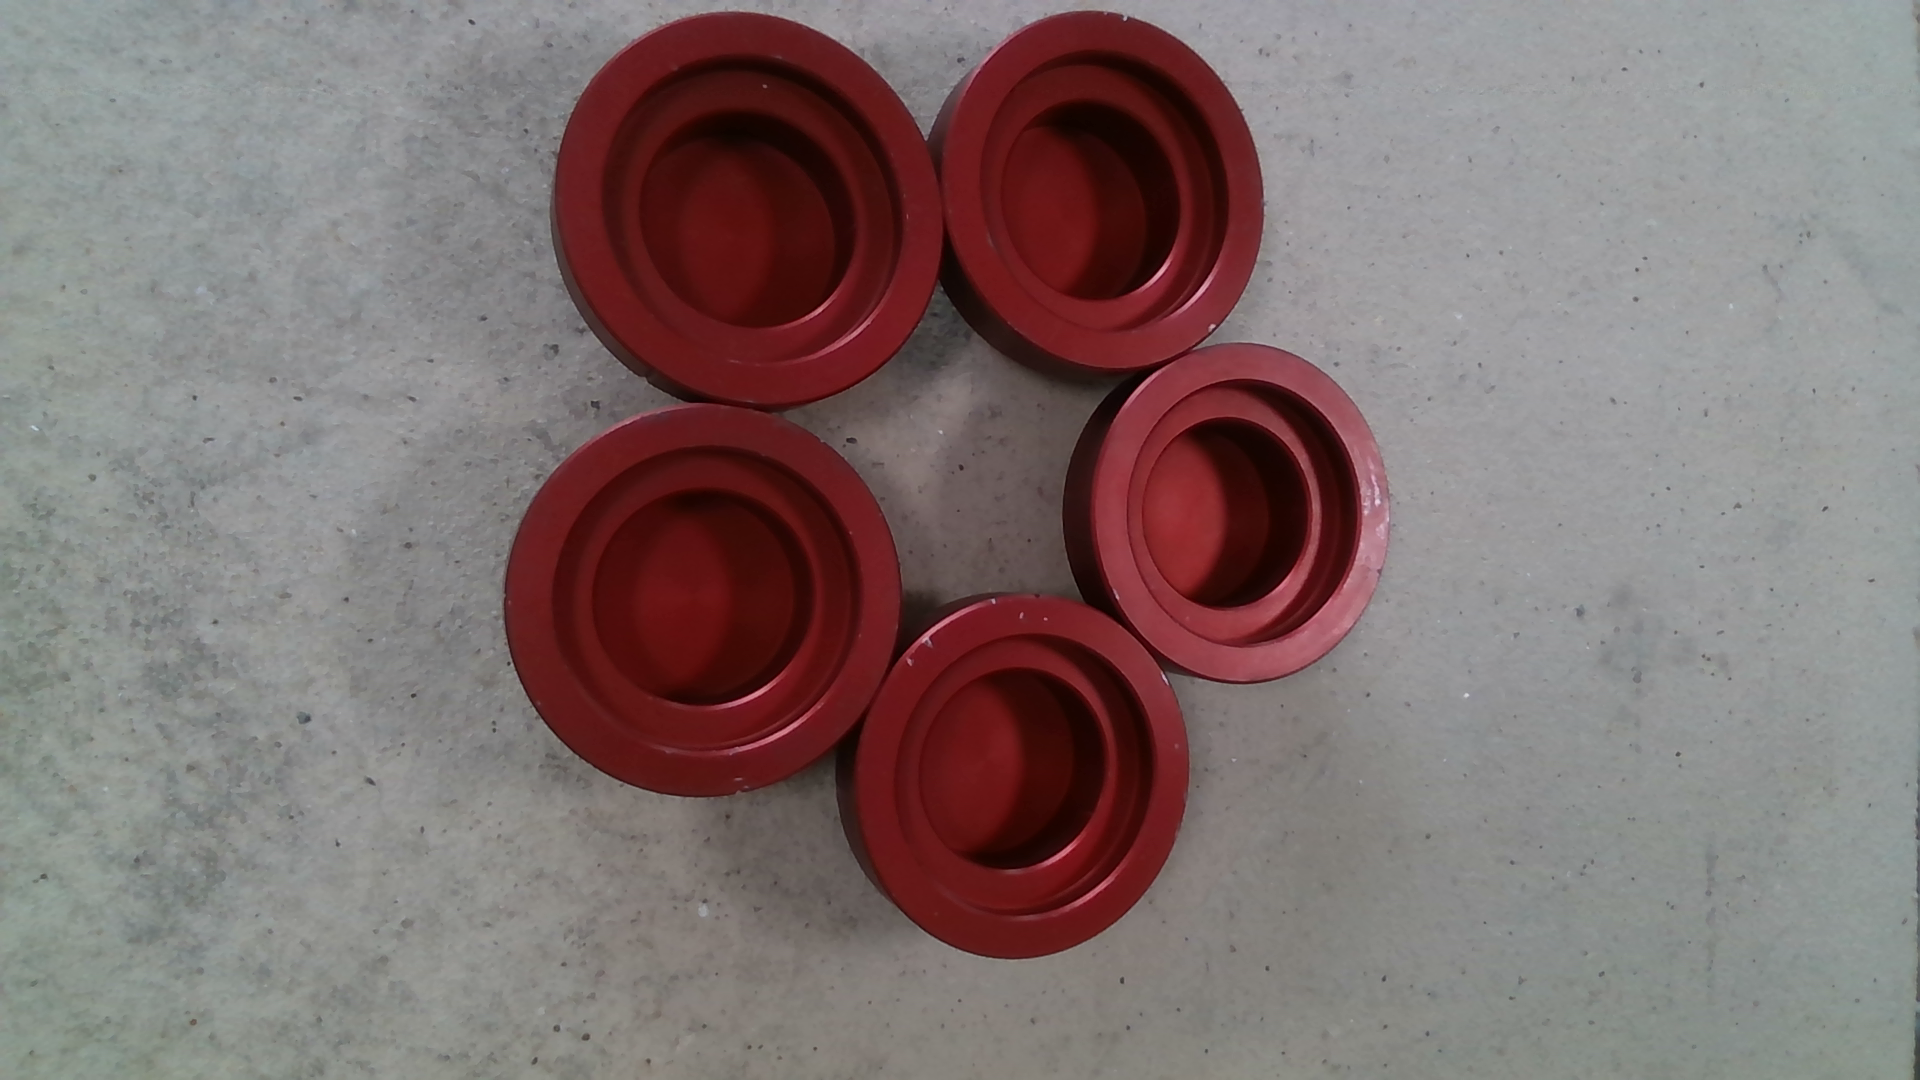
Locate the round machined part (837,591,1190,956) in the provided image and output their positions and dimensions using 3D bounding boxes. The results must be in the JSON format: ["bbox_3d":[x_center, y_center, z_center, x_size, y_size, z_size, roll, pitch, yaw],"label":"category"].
[{"bbox_3d":[0.012,0.063,0.389,0.098,0.042,0.098,0,91,-22],"label":"round machined part"}]

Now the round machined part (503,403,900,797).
[{"bbox_3d":[-0.068,0.015,0.360,0.098,0.042,0.098,0,91,-21],"label":"round machined part"}]

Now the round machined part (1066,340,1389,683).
[{"bbox_3d":[0.075,-0.008,0.412,0.098,0.042,0.098,0,91,-22],"label":"round machined part"}]

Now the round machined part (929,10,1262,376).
[{"bbox_3d":[0.034,-0.096,0.397,0.098,0.042,0.098,0,90,-22],"label":"round machined part"}]

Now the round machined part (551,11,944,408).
[{"bbox_3d":[-0.057,-0.083,0.363,0.098,0.042,0.098,0,91,-22],"label":"round machined part"}]
